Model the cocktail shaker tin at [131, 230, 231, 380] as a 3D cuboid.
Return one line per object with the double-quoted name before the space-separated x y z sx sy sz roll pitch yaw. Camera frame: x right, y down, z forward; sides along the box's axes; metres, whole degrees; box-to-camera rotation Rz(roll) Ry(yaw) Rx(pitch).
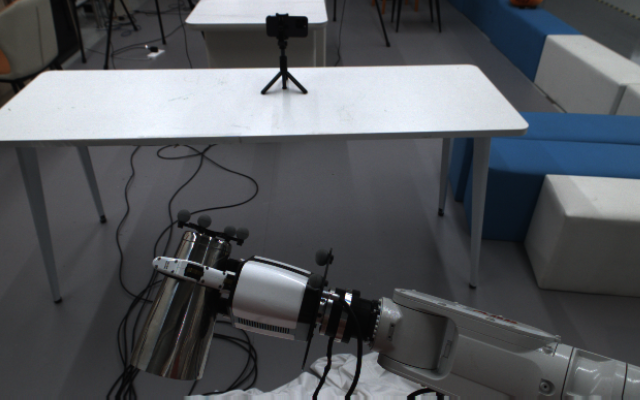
"cocktail shaker tin" -0.167 0.129 0.623 0.093 0.093 0.170 14 80 16
